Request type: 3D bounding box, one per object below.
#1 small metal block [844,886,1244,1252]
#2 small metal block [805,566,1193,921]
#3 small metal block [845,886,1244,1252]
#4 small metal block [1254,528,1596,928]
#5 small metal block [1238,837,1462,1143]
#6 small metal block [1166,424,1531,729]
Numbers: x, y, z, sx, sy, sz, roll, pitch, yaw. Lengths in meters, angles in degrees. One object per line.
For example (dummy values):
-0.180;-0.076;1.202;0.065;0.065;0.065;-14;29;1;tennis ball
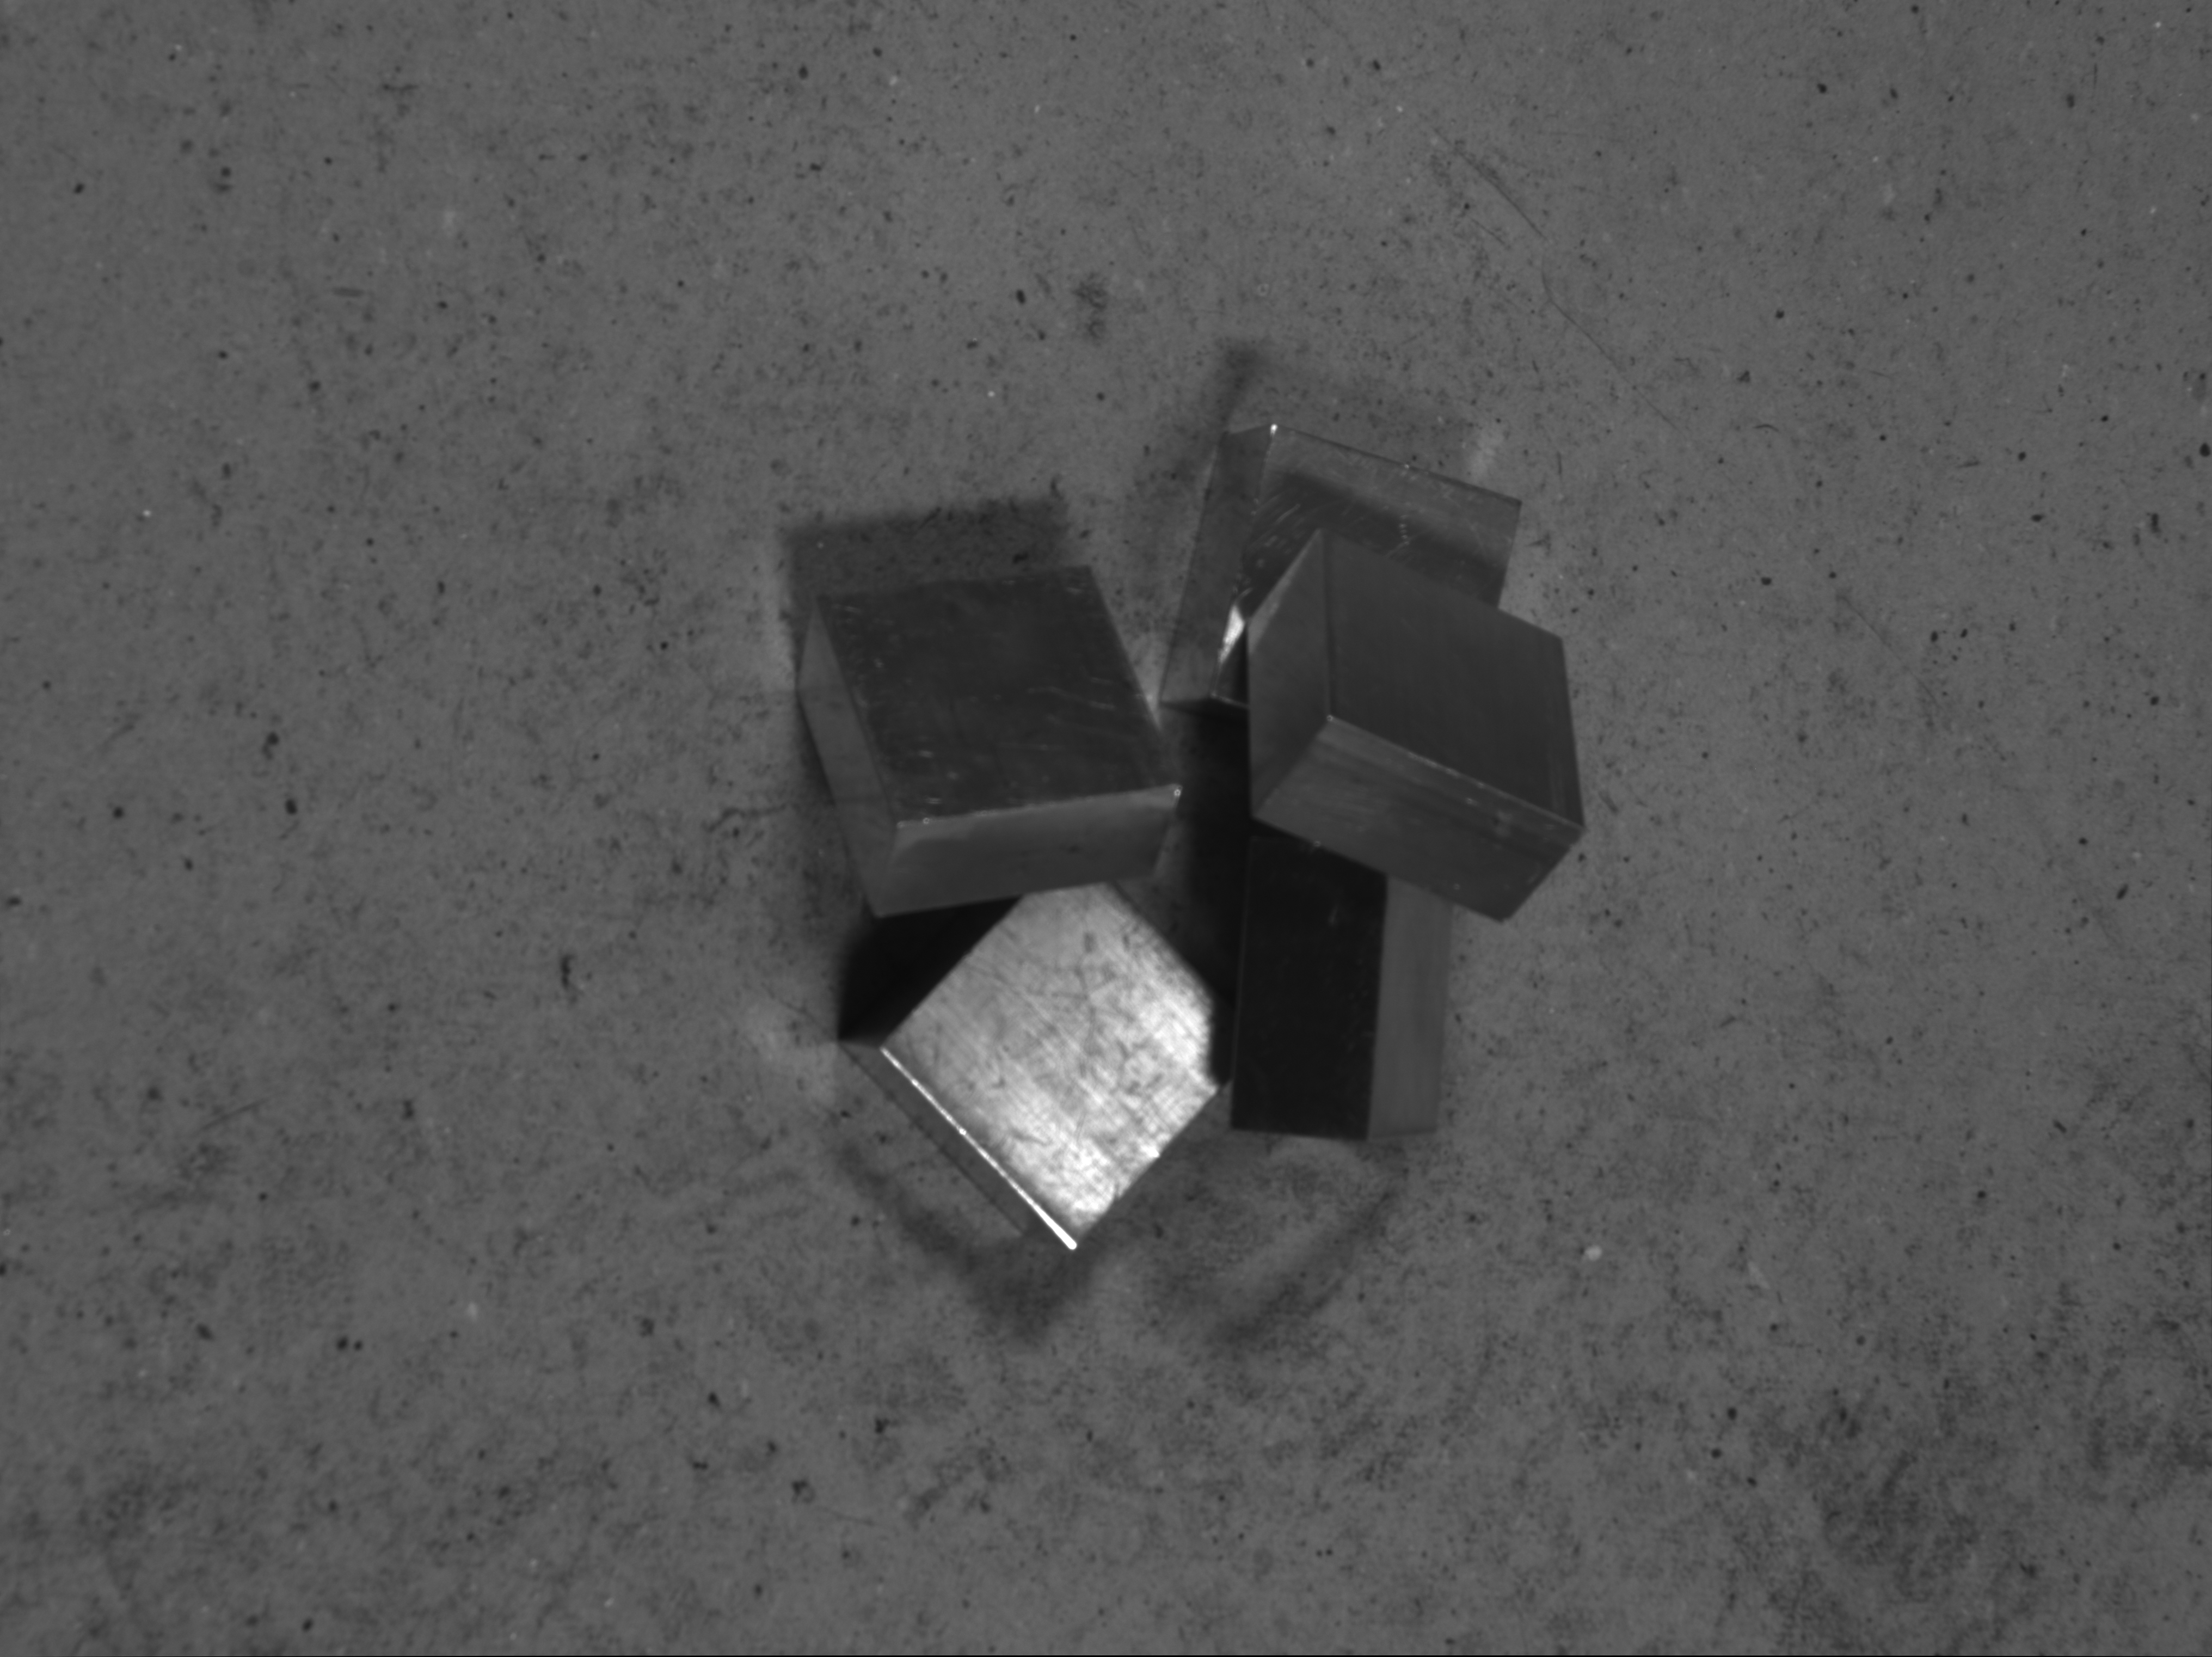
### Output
-0.008;0.037;0.641;0.050;0.025;0.050;-47;104;-14;small metal block
-0.019;-0.015;0.623;0.050;0.025;0.050;-8;55;-20;small metal block
-0.008;0.037;0.641;0.050;0.025;0.050;-47;104;-14;small metal block
0.053;-0.017;0.622;0.050;0.025;0.050;23;39;-19;small metal block
0.044;0.029;0.644;0.025;0.050;0.050;4;88;19;small metal block
0.044;-0.041;0.660;0.050;0.025;0.050;15;85;-19;small metal block
